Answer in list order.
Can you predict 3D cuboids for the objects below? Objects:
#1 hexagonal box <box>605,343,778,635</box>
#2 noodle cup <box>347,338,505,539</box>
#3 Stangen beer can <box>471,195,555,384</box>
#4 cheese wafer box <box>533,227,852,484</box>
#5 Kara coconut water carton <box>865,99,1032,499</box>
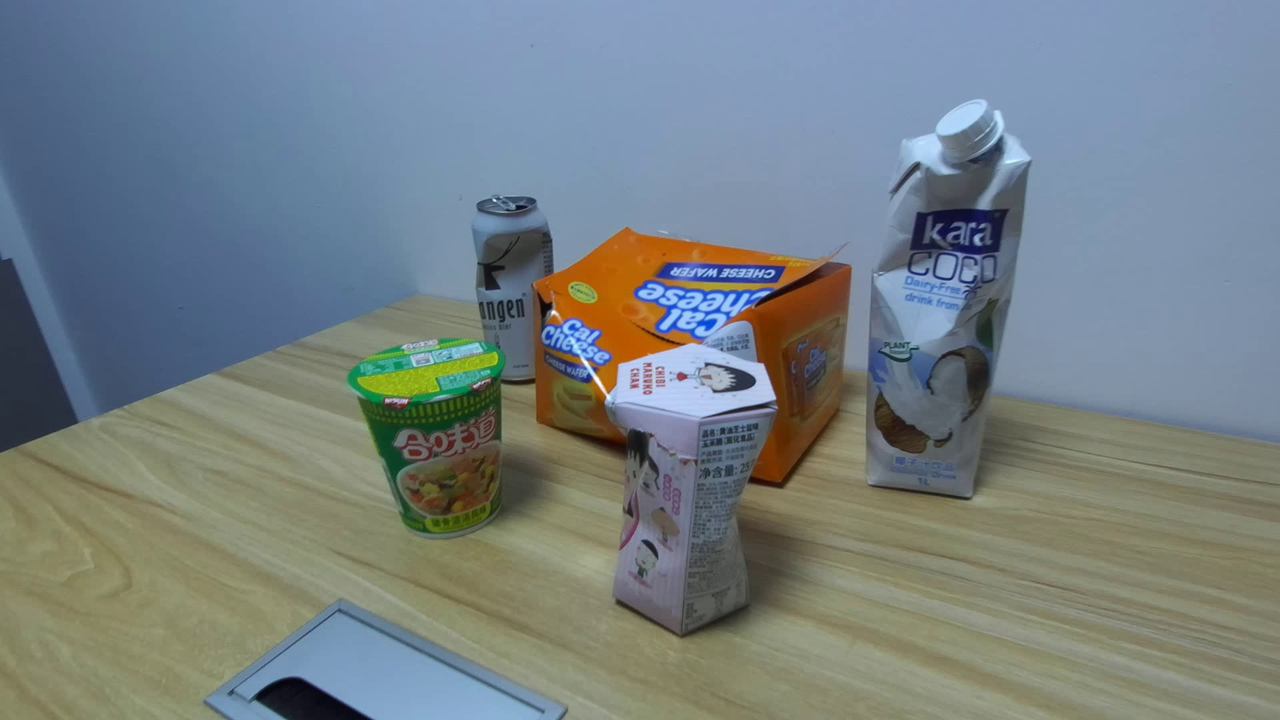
[{"bbox_3d":[0.029,0.068,0.388,0.089,0.134,0.091,21,32,37],"label":"hexagonal box"},{"bbox_3d":[-0.133,0.054,0.468,0.097,0.110,0.097,-1,24,1],"label":"noodle cup"},{"bbox_3d":[-0.117,-0.065,0.663,0.070,0.173,0.070,10,24,31],"label":"Stangen beer can"},{"bbox_3d":[0.035,-0.014,0.565,0.218,0.145,0.192,12,27,29],"label":"cheese wafer box"},{"bbox_3d":[0.195,-0.035,0.461,0.083,0.256,0.078,12,29,29],"label":"Kara coconut water carton"}]
